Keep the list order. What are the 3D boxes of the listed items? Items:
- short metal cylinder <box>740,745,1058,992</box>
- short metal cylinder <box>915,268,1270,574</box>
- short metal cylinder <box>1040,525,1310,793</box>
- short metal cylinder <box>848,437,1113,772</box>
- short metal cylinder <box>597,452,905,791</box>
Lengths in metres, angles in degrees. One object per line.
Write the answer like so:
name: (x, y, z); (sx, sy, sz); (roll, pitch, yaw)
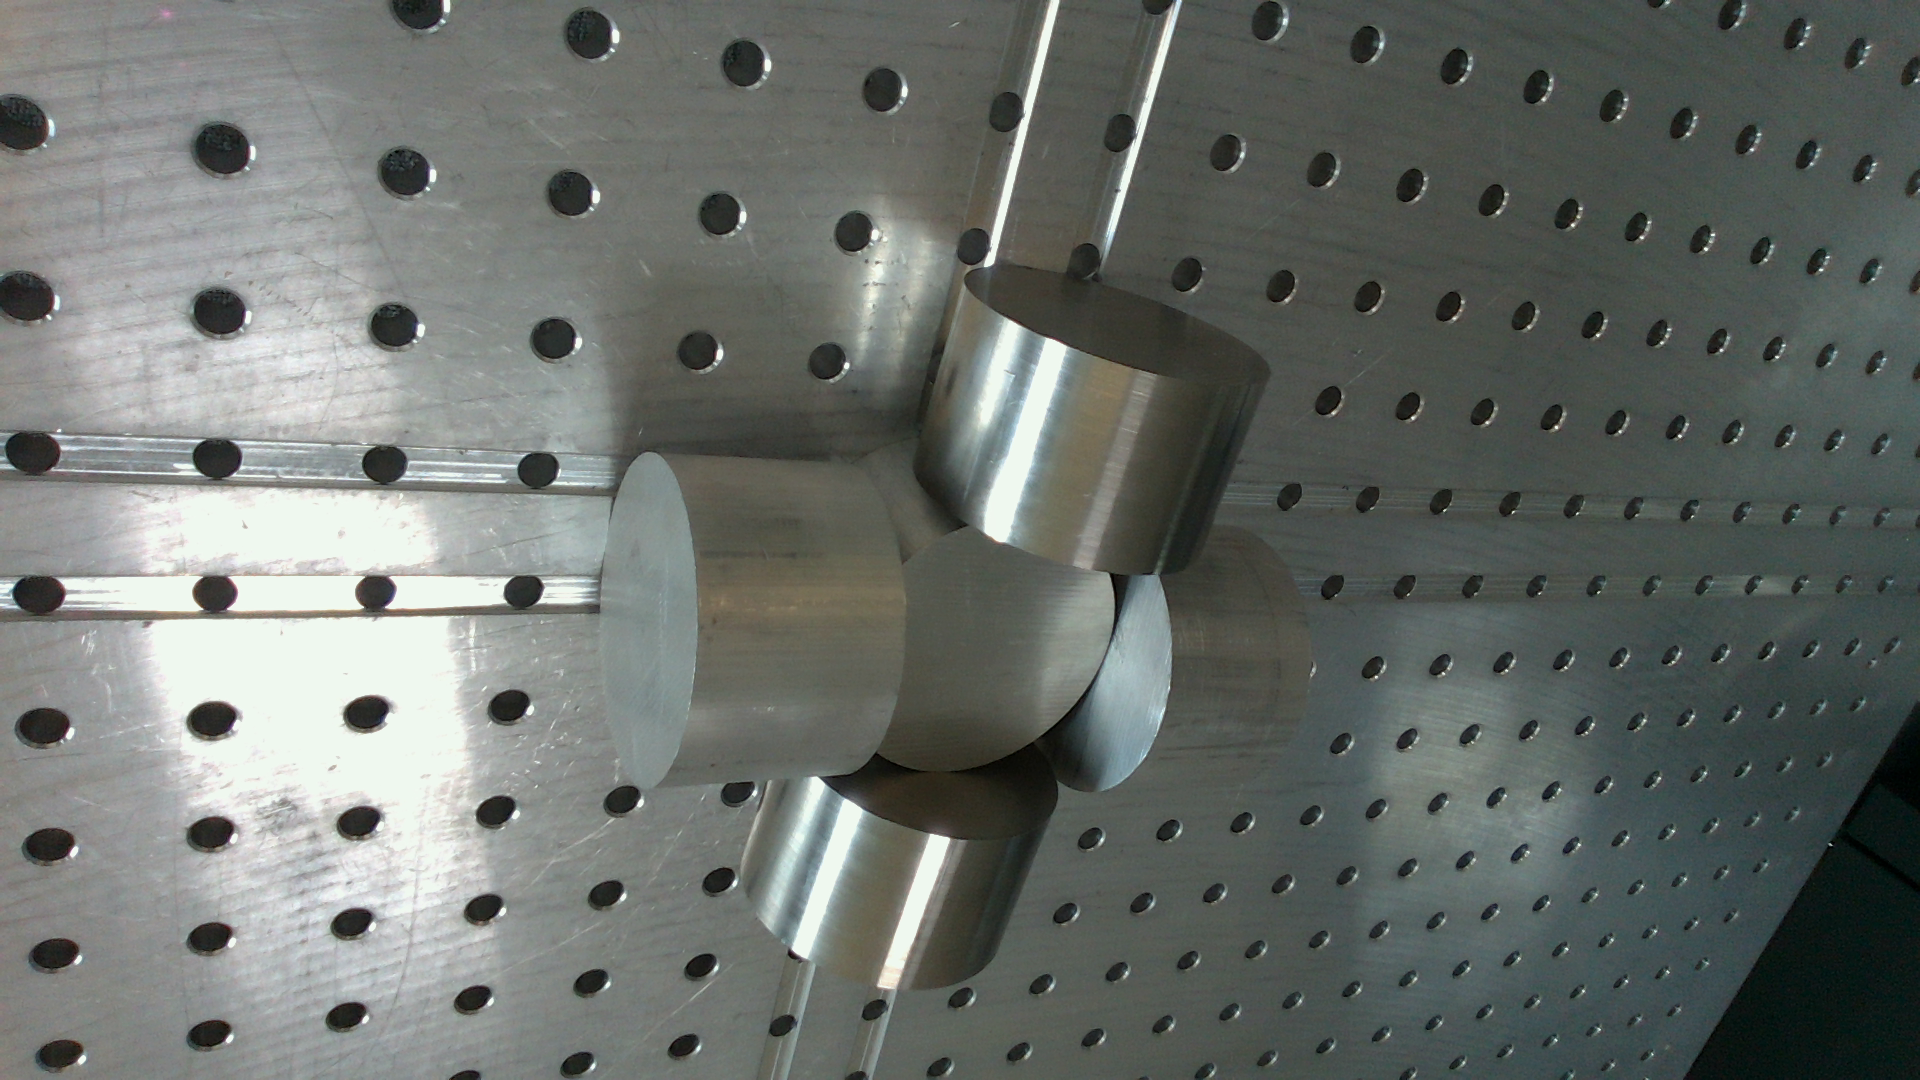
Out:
short metal cylinder: (-0.018, 0.082, 0.396); (0.080, 0.080, 0.050); (6, 115, -31)
short metal cylinder: (0.033, -0.033, 0.354); (0.080, 0.080, 0.050); (3, 117, -30)
short metal cylinder: (0.057, 0.034, 0.409); (0.050, 0.080, 0.080); (3, 117, -30)
short metal cylinder: (-0.005, 0.017, 0.385); (0.080, 0.050, 0.080); (-14, 124, -22)
short metal cylinder: (-0.054, 0.019, 0.340); (0.050, 0.080, 0.080); (1, 118, -30)
